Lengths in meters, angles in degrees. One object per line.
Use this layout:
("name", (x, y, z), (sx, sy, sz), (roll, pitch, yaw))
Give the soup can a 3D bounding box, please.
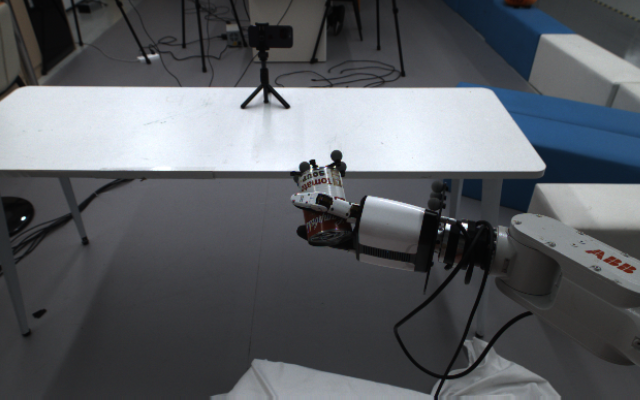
("soup can", (0.008, 0.010, 0.715), (0.067, 0.067, 0.101), (-6, 67, -12))
